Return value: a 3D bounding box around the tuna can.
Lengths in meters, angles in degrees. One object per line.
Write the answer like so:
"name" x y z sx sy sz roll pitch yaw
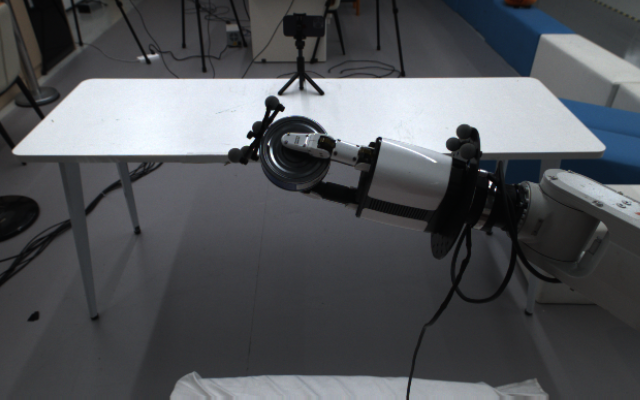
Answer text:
"tuna can" -0.025 -0.052 0.571 0.085 0.034 0.085 1 76 -5
